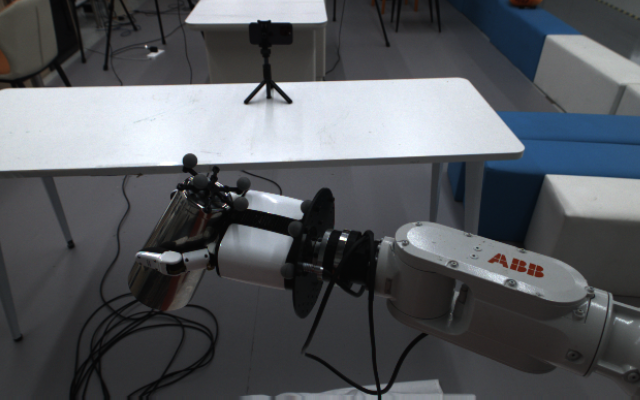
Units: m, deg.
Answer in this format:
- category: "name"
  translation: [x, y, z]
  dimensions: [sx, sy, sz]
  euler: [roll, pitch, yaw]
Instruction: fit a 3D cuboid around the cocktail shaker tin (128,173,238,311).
- category: "cocktail shaker tin"
  translation: [-0.174, 0.050, 0.620]
  dimensions: [0.093, 0.170, 0.093]
  euler: [26, 32, -18]
